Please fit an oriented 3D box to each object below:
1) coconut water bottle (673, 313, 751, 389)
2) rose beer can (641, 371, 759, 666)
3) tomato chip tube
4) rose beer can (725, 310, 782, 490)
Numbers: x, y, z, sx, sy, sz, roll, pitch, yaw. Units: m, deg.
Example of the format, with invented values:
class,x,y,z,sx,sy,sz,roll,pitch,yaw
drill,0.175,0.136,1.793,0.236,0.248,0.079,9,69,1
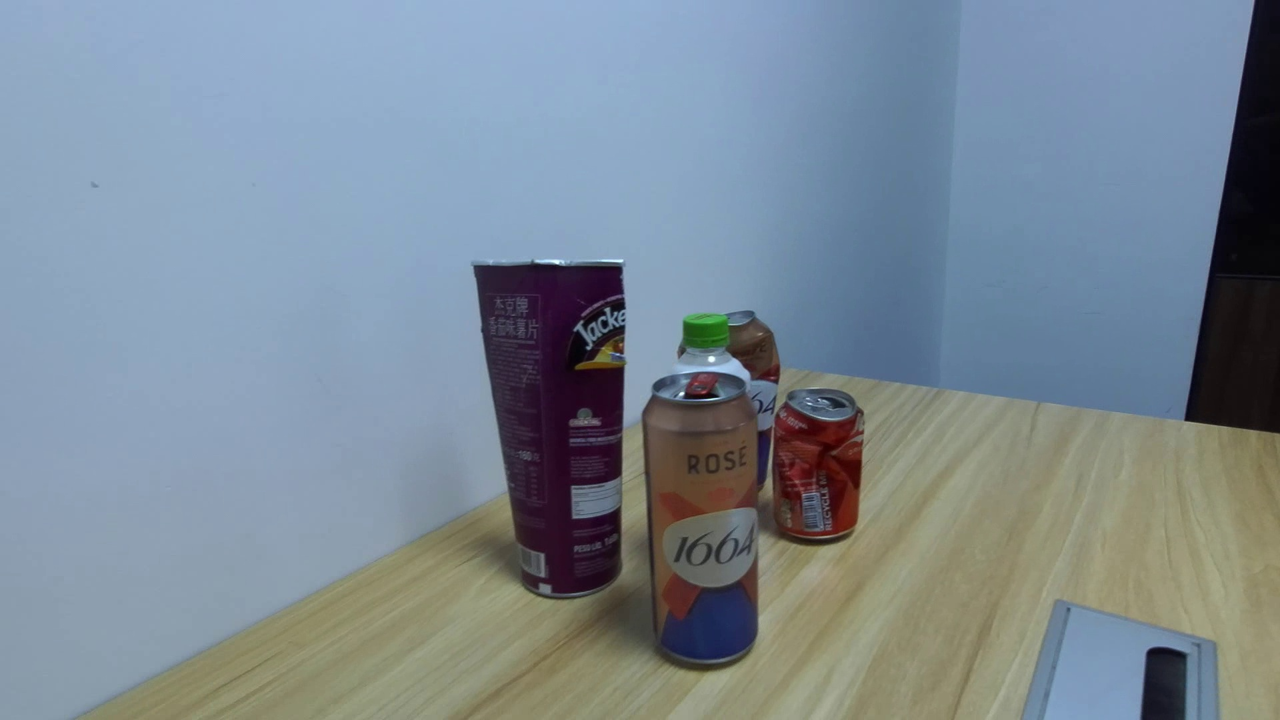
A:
class,x,y,z,sx,sy,sz,roll,pitch,yaw
coconut water bottle,0.049,0.061,0.501,0.063,0.188,0.063,-4,16,1
rose beer can,0.038,0.096,0.425,0.068,0.169,0.068,-2,16,1
tomato chip tube,-0.055,0.047,0.499,0.078,0.235,0.089,-11,15,-26
rose beer can,0.077,0.038,0.631,0.074,0.162,0.067,-12,16,-39
